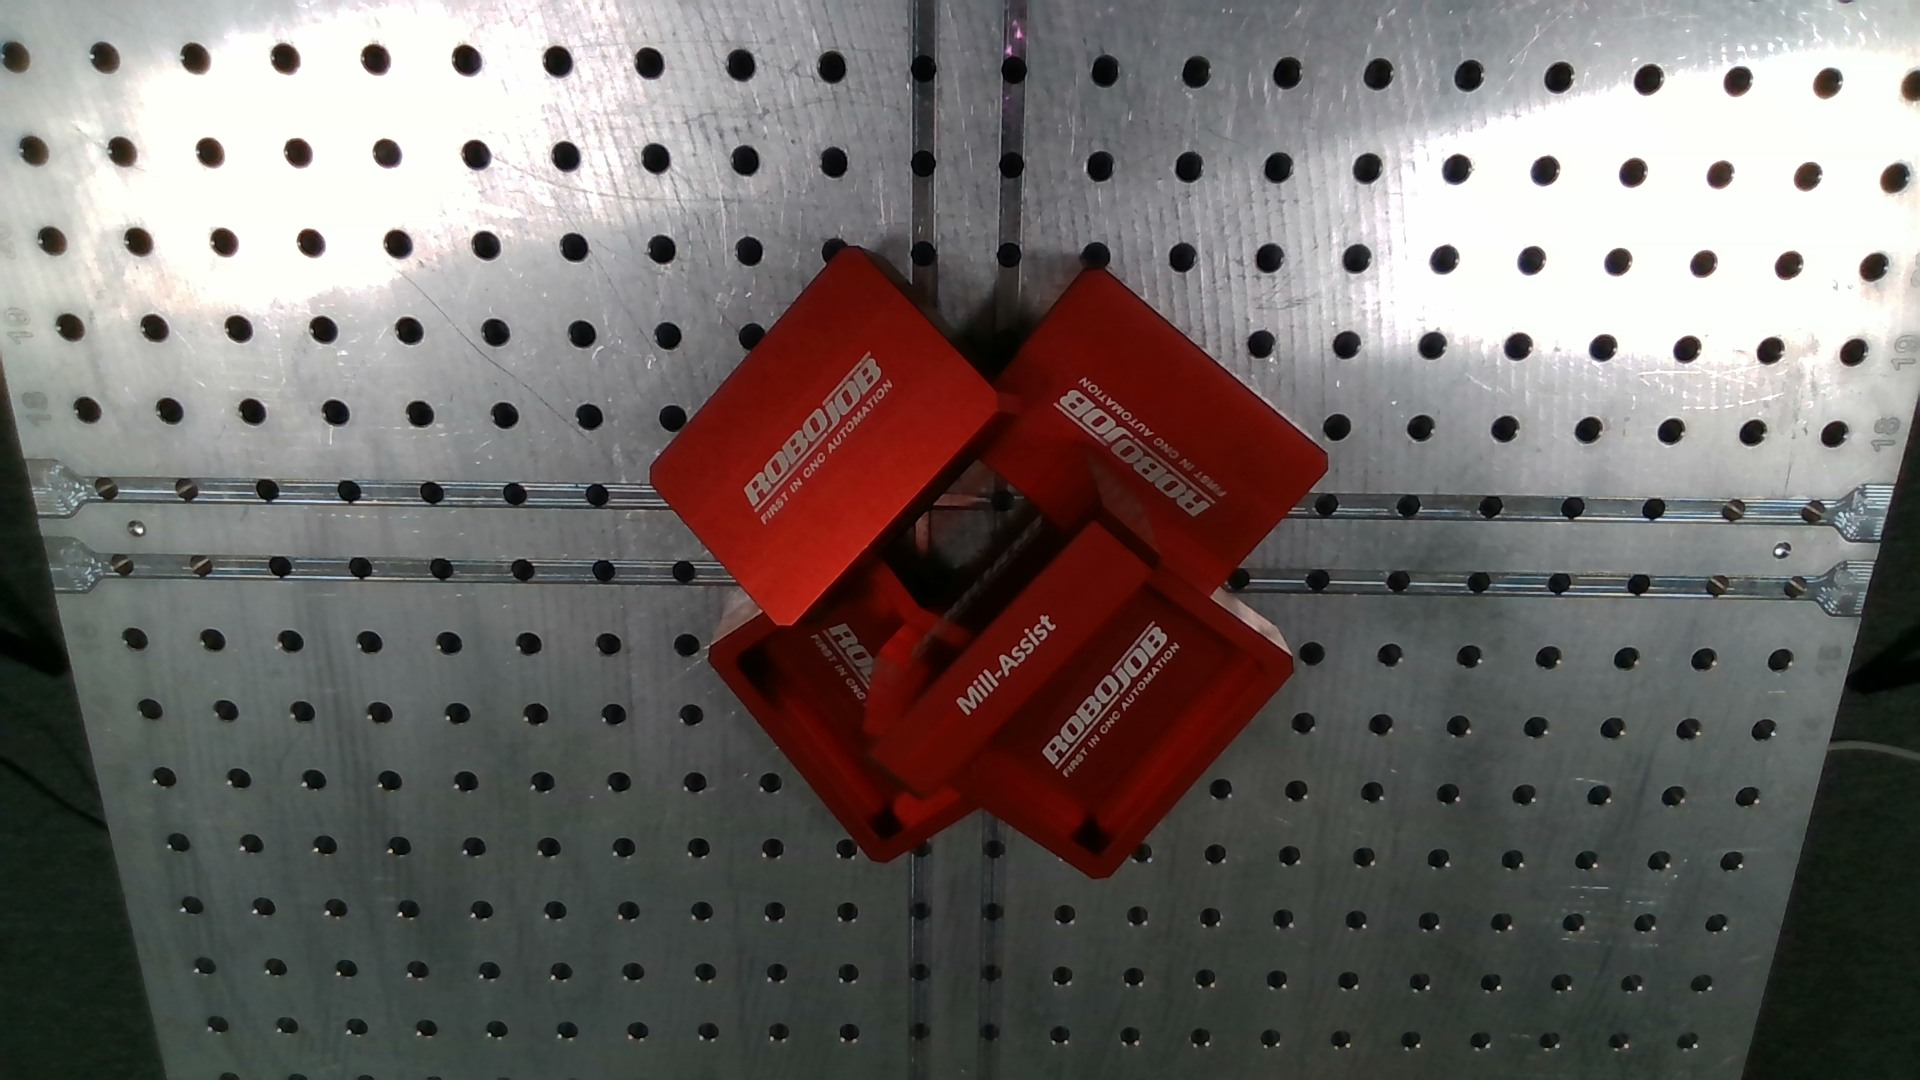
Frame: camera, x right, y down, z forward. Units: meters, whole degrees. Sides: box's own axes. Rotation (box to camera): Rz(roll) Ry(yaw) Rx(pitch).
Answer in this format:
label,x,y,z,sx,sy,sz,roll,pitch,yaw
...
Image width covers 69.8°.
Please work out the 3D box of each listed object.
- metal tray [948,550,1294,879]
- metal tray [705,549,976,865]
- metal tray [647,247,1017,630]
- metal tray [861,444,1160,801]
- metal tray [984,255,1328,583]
label,x,y,z,sx,sy,sz,roll,pitch,yaw
metal tray,0.063,0.069,0.578,0.090,0.030,0.130,34,107,-12
metal tray,-0.038,0.070,0.609,0.090,0.030,0.130,-32,107,11
metal tray,-0.053,-0.039,0.550,0.130,0.030,0.090,-46,79,15
metal tray,0.017,0.029,0.530,0.030,0.090,0.130,39,106,-13
metal tray,0.073,-0.042,0.568,0.130,0.030,0.090,37,106,-12
